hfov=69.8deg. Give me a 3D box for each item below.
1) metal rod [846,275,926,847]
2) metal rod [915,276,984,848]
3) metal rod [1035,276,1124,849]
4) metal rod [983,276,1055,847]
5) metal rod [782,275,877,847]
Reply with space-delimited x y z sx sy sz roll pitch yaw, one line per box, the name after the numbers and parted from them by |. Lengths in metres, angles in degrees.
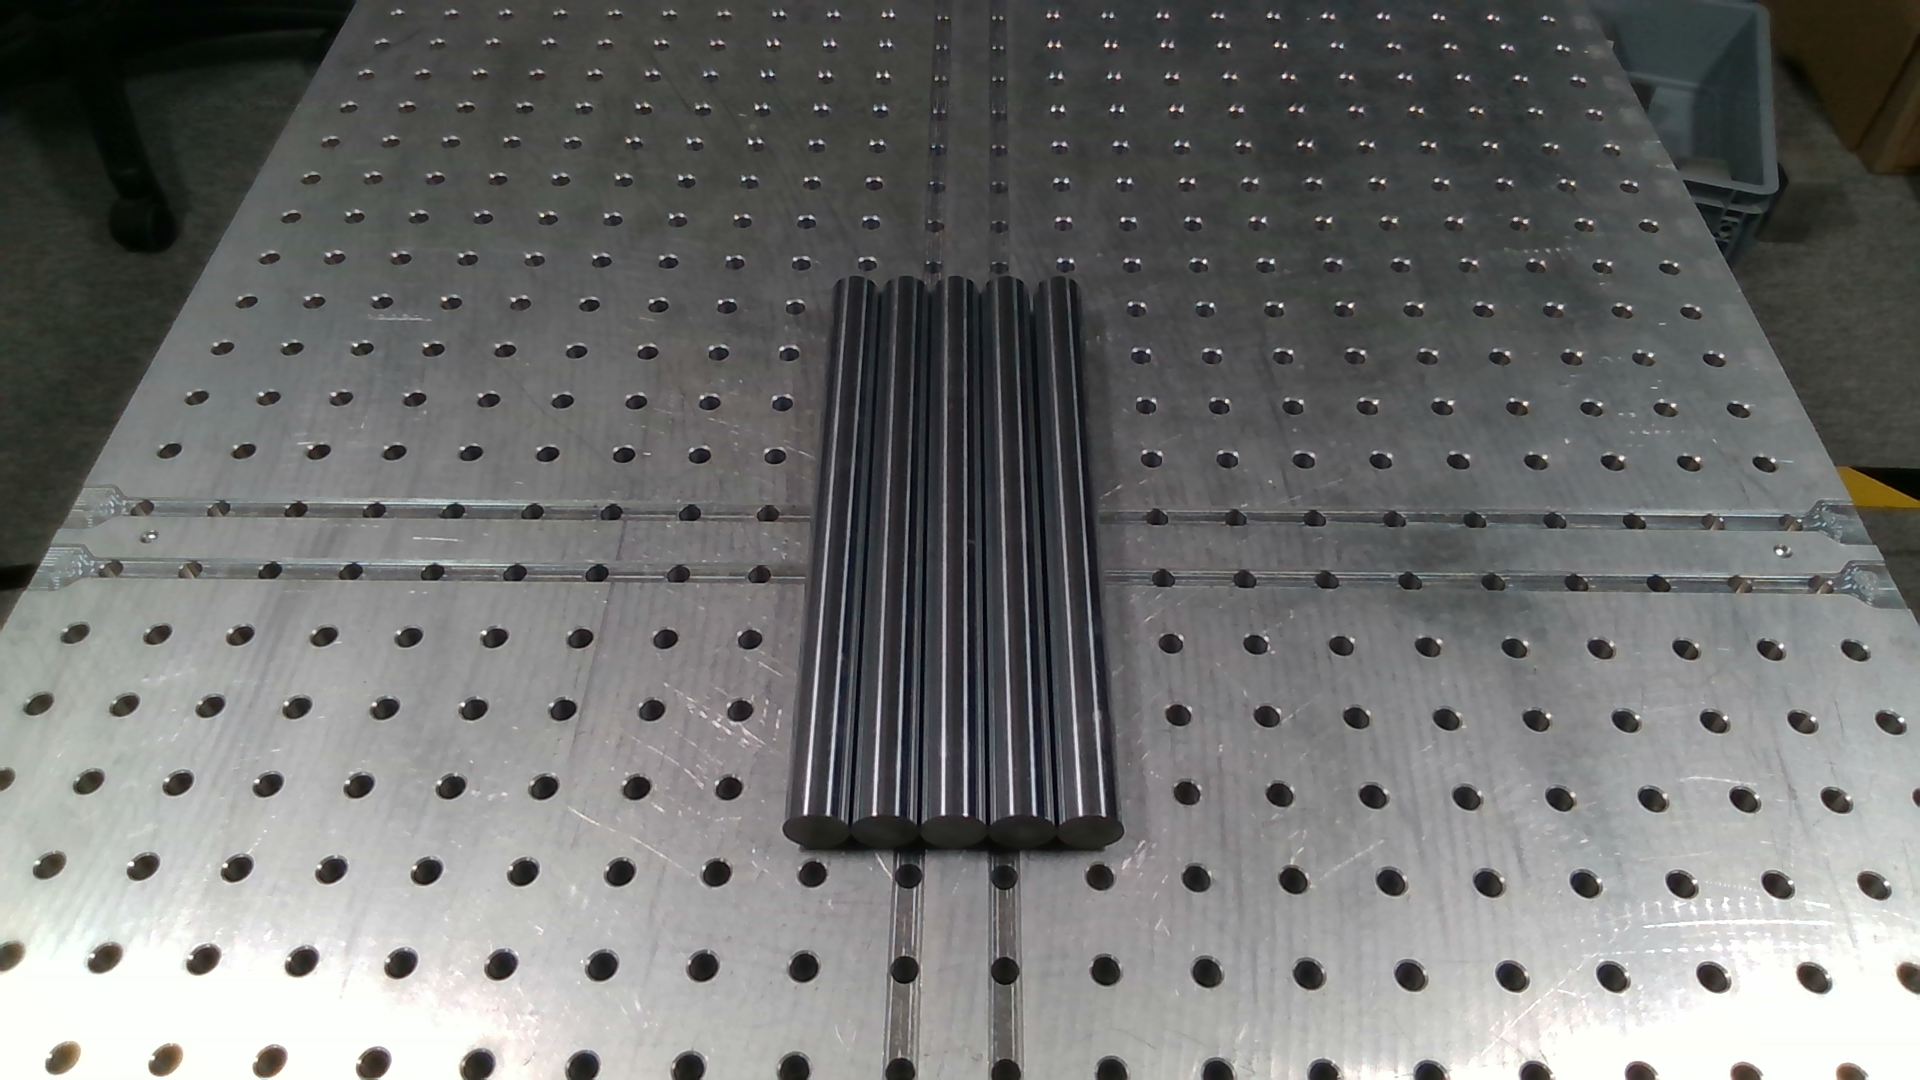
-0.028 -0.009 0.597 0.025 0.025 0.299 0 50 0 | metal rod
-0.003 -0.008 0.597 0.025 0.025 0.299 0 50 0 | metal rod
0.048 -0.008 0.597 0.025 0.025 0.299 0 50 0 | metal rod
0.023 -0.009 0.597 0.025 0.025 0.299 0 50 0 | metal rod
-0.053 -0.009 0.597 0.025 0.025 0.299 0 50 0 | metal rod
